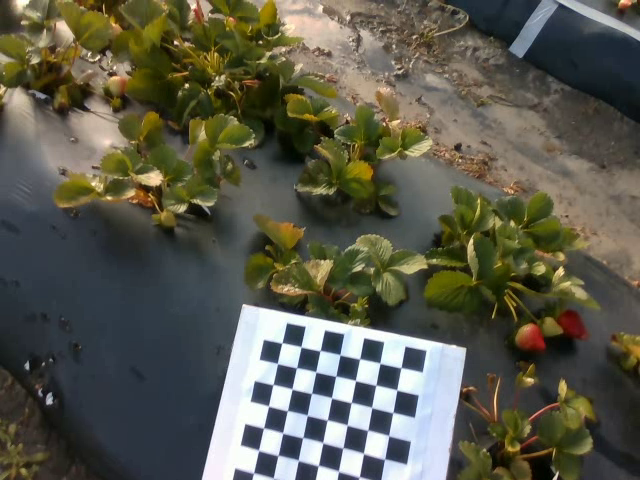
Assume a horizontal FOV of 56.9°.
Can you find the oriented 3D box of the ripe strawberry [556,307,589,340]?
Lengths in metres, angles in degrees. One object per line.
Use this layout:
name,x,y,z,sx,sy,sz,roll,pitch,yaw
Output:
ripe strawberry,0.414,0.141,0.956,0.048,0.065,0.050,-39,-21,4
